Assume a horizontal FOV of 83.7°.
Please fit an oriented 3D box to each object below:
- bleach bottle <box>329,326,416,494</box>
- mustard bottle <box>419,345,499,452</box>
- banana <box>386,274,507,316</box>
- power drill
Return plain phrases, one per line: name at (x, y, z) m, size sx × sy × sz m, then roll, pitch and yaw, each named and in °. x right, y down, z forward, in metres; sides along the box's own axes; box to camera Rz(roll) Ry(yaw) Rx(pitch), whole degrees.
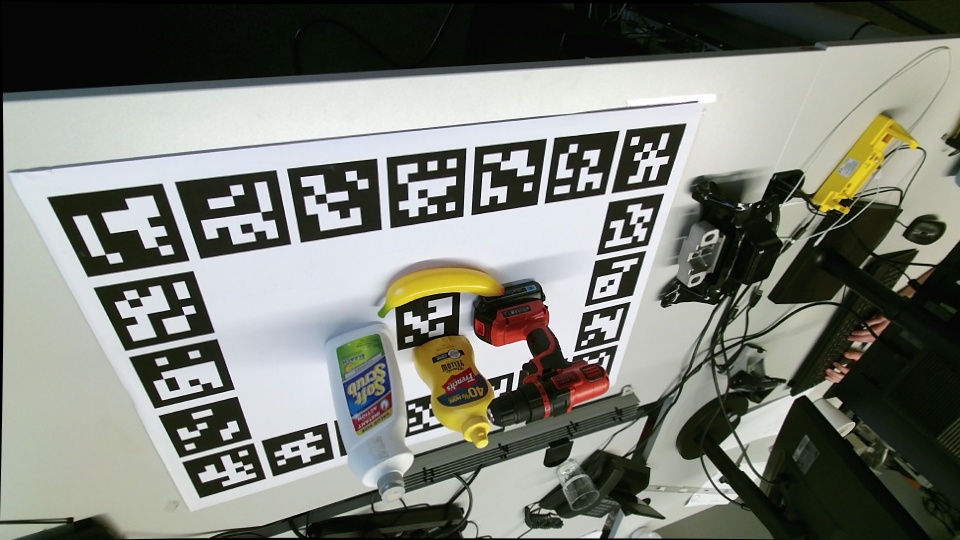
bleach bottle at (-0.135, 0.183, 0.720) m, size 0.103 × 0.250 × 0.068 m, roll -18°, pitch 128°, yaw -14°
mustard bottle at (-0.024, 0.196, 0.811) m, size 0.096 × 0.191 × 0.058 m, roll -10°, pitch 127°, yaw -18°
banana at (-0.050, 0.040, 0.783) m, size 0.198 × 0.039 × 0.074 m, roll -9°, pitch 123°, yaw -22°
power drill at (0.081, 0.138, 0.795) m, size 0.185 × 0.186 × 0.057 m, roll -12°, pitch 134°, yaw -15°
